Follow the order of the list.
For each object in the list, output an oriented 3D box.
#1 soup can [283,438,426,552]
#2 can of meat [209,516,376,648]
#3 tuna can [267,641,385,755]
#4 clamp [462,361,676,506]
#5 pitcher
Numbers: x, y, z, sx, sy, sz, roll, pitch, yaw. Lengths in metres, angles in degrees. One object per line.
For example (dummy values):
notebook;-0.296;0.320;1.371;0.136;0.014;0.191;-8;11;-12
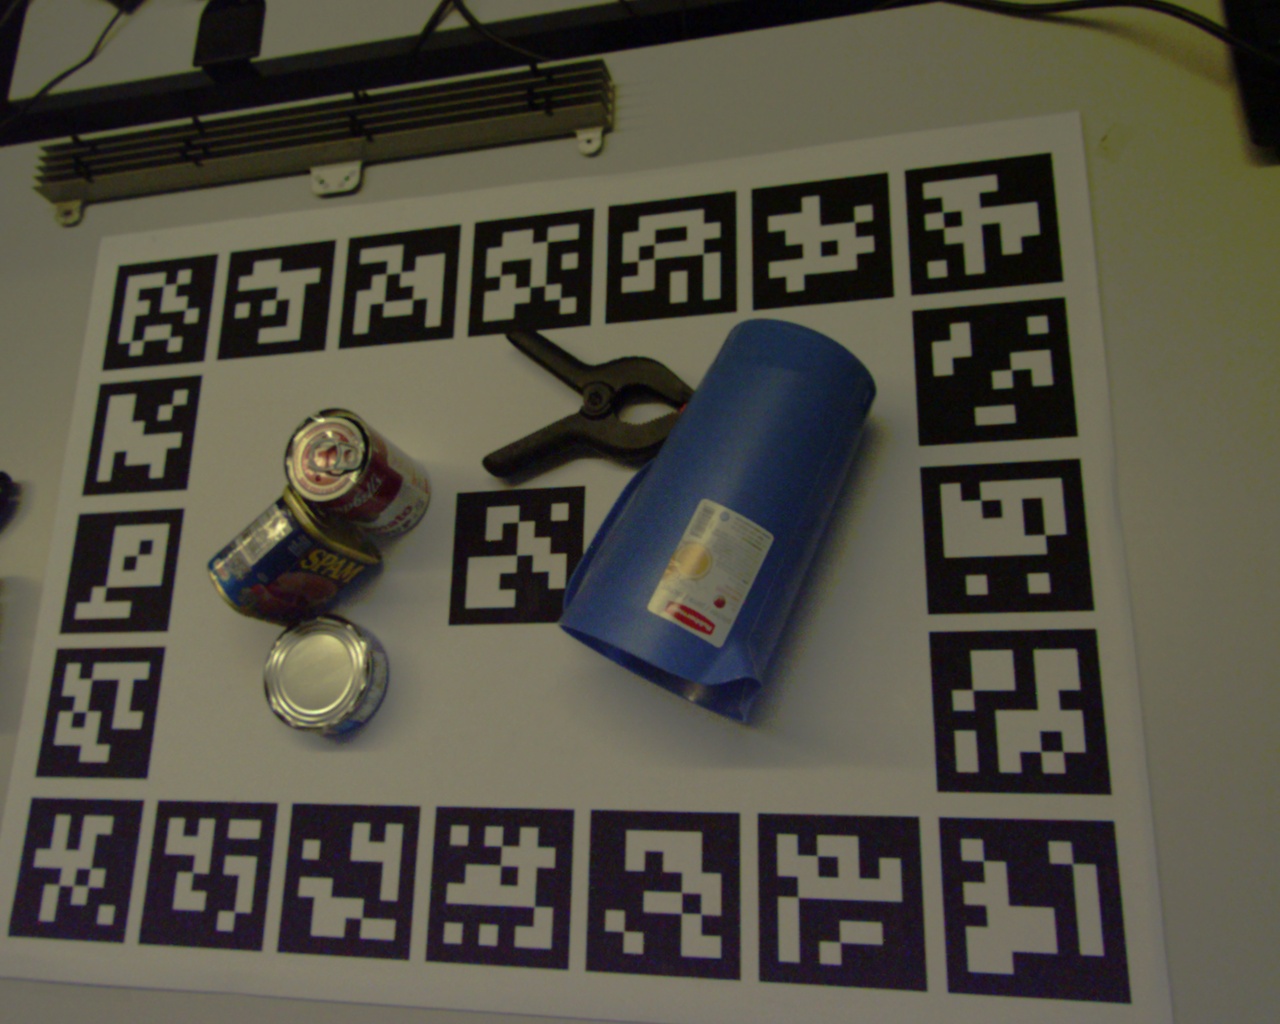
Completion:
soup can;-0.217;-0.011;0.878;0.068;0.101;0.068;-4;76;17
can of meat;-0.265;0.057;0.868;0.084;0.101;0.058;-38;70;6
tuna can;-0.240;0.143;0.875;0.086;0.033;0.086;-4;76;15
clamp;-0.054;-0.063;0.890;0.166;0.036;0.122;0;71;12
pitcher;0.038;0.023;0.775;0.191;0.131;0.242;14;71;41
